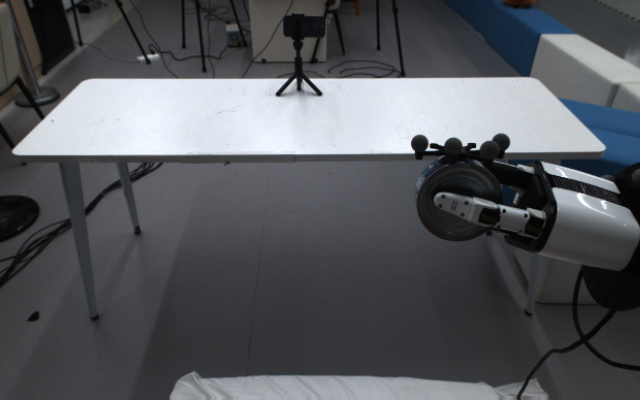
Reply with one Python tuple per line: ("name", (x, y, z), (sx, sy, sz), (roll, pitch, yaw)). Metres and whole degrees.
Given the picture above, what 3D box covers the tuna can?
("tuna can", (0.145, -0.004, 0.508), (0.085, 0.085, 0.034), (5, 17, 3))
